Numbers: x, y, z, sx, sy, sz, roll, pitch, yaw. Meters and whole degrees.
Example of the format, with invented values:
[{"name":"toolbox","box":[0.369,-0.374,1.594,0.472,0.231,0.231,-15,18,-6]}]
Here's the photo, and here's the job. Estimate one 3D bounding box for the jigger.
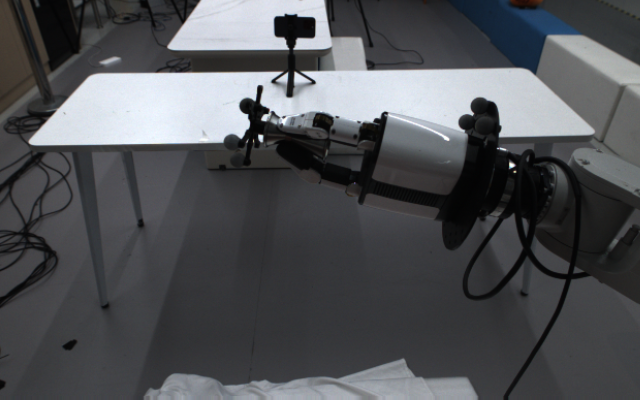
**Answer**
[{"name":"jigger","box":[-0.019,-0.074,0.524,0.071,0.043,0.043,13,36,4]}]
